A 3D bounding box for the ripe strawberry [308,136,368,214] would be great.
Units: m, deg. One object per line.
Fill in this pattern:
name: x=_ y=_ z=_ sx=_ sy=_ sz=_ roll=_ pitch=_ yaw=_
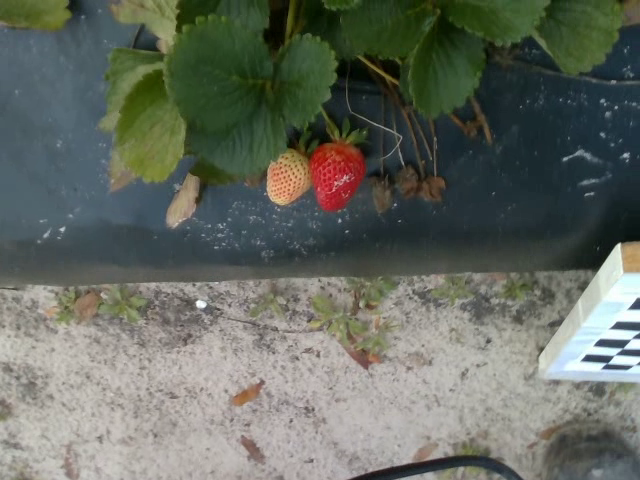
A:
ripe strawberry: x=0.008 y=-0.034 z=0.333 sx=0.034 sy=0.042 sz=0.033 roll=15 pitch=3 yaw=-18
